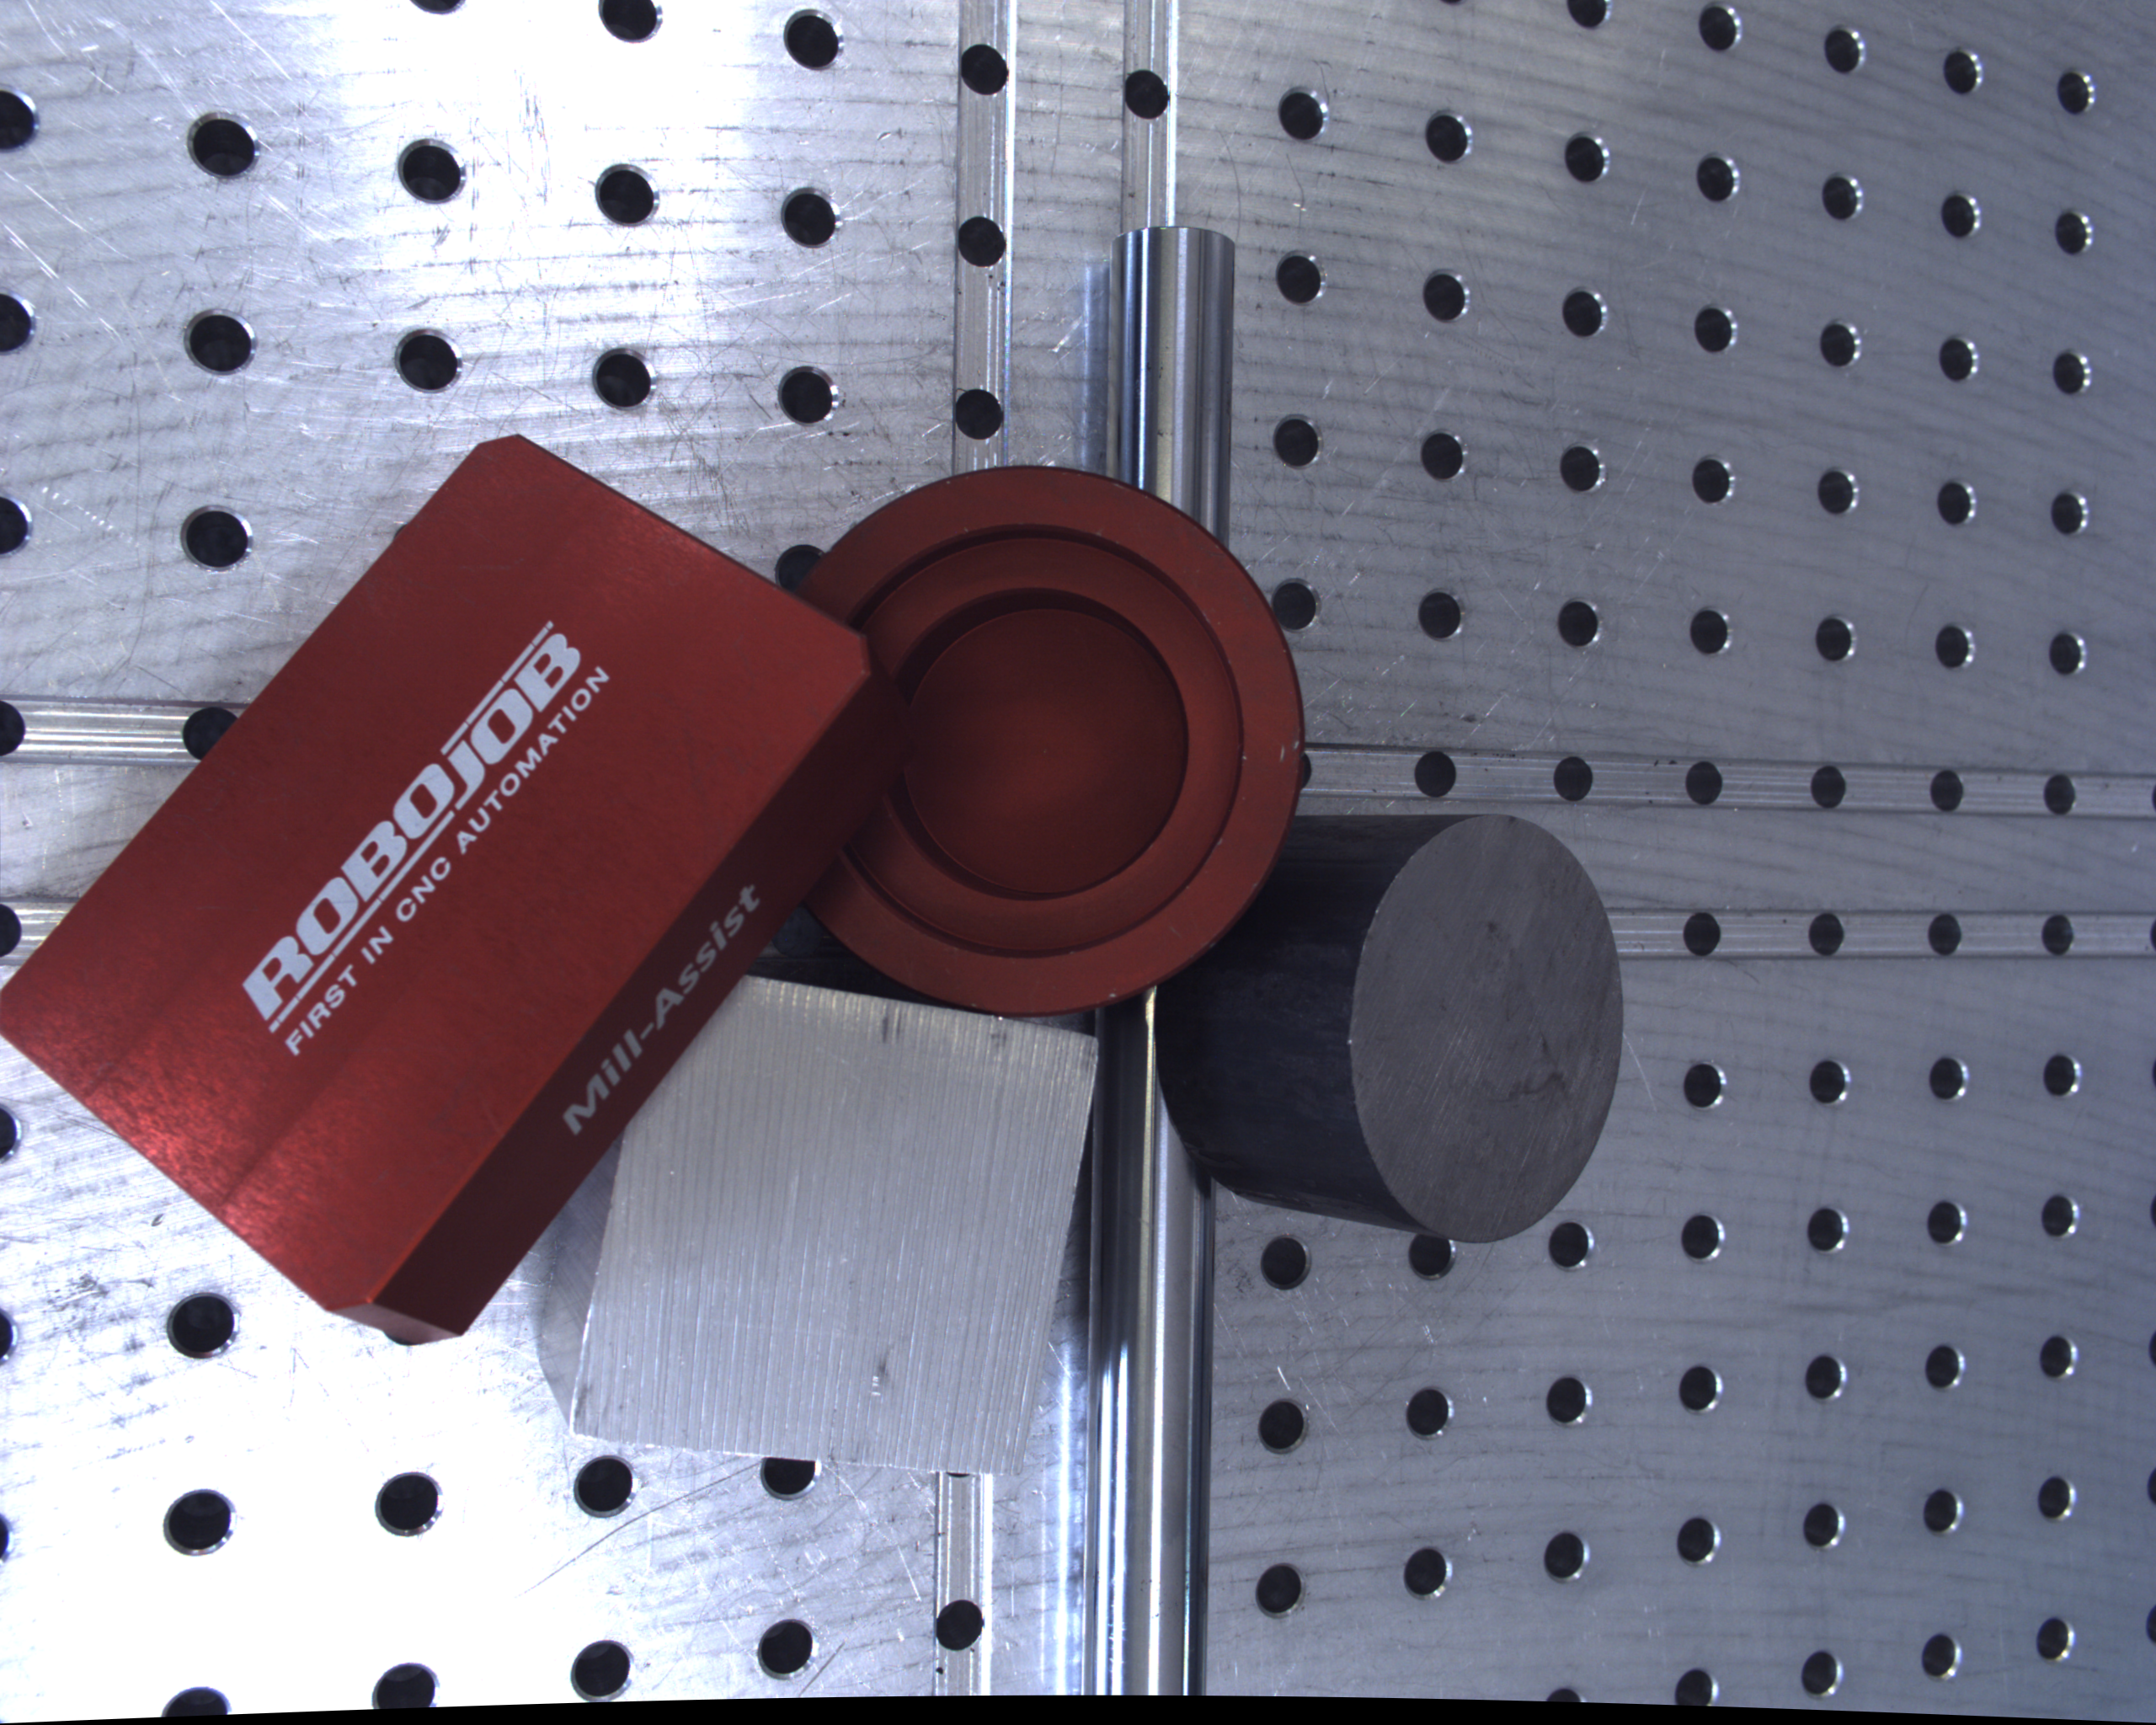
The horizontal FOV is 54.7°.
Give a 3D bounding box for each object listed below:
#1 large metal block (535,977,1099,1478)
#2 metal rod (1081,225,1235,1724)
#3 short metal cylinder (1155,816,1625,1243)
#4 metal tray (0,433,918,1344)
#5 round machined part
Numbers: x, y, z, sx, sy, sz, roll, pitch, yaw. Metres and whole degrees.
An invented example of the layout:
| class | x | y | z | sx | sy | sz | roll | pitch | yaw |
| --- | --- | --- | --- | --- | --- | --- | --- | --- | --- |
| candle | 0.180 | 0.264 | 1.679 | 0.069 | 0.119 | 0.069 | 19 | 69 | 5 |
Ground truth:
| class | x | y | z | sx | sy | sz | roll | pitch | yaw |
| --- | --- | --- | --- | --- | --- | --- | --- | --- | --- |
| large metal block | -0.049 | 0.062 | 0.381 | 0.081 | 0.050 | 0.080 | 11 | 86 | -20 |
| metal rod | 0.016 | 0.024 | 0.419 | 0.025 | 0.025 | 0.298 | 1 | 90 | -20 |
| short metal cylinder | 0.062 | 0.031 | 0.408 | 0.081 | 0.050 | 0.079 | 0 | 91 | -40 |
| metal tray | -0.101 | 0.001 | 0.347 | 0.090 | 0.030 | 0.130 | 32 | 77 | 22 |
| round machined part | -0.008 | -0.021 | 0.387 | 0.099 | 0.042 | 0.097 | 0 | 89 | 5 |
